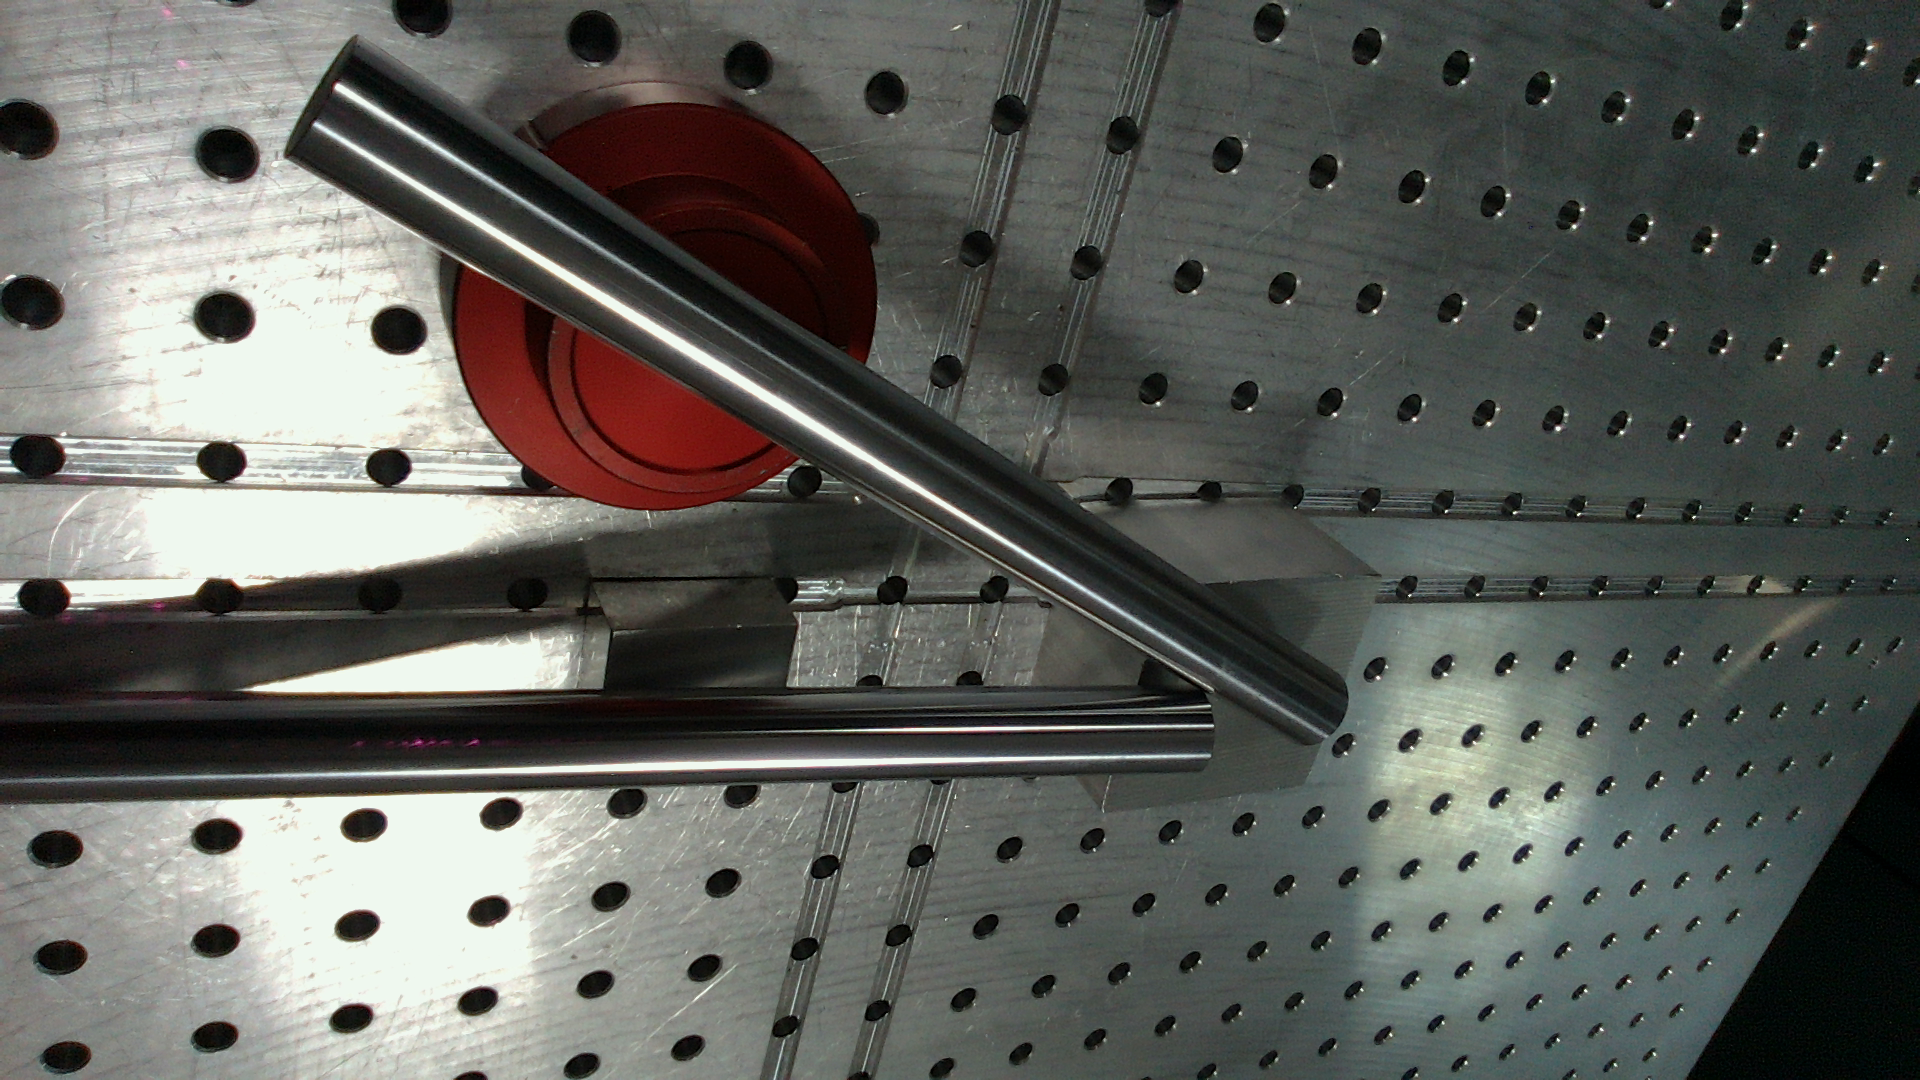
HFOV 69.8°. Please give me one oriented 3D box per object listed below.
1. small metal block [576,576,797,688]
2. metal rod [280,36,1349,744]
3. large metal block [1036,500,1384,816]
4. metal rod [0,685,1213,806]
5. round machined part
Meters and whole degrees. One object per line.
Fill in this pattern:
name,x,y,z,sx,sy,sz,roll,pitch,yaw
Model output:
small metal block,-0.076,0.038,0.375,0.050,0.025,0.050,-1,119,-28
metal rod,-0.003,-0.013,0.320,0.301,0.025,0.025,30,102,-35
large metal block,0.075,0.035,0.434,0.080,0.050,0.080,-2,119,-27
metal rod,-0.077,0.050,0.345,0.301,0.025,0.025,2,118,-17
round machined part,-0.065,-0.050,0.315,0.098,0.042,0.098,-14,124,-21
